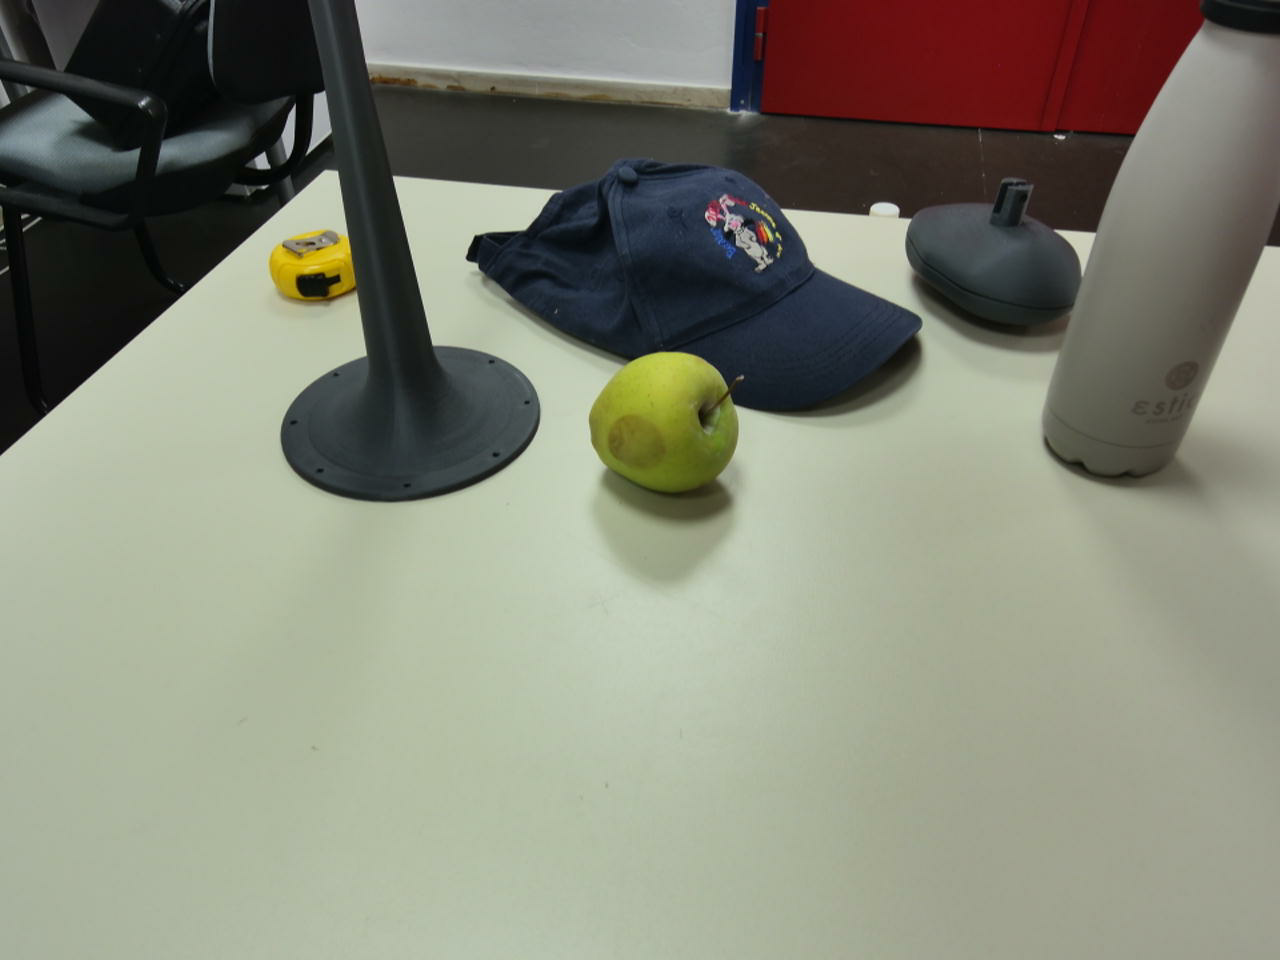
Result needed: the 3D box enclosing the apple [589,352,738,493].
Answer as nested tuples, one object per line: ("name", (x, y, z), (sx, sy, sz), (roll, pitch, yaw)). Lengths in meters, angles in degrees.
("apple", (0.013, -0.032, 0.533), (0.072, 0.075, 0.077), (-23, 44, -25))
